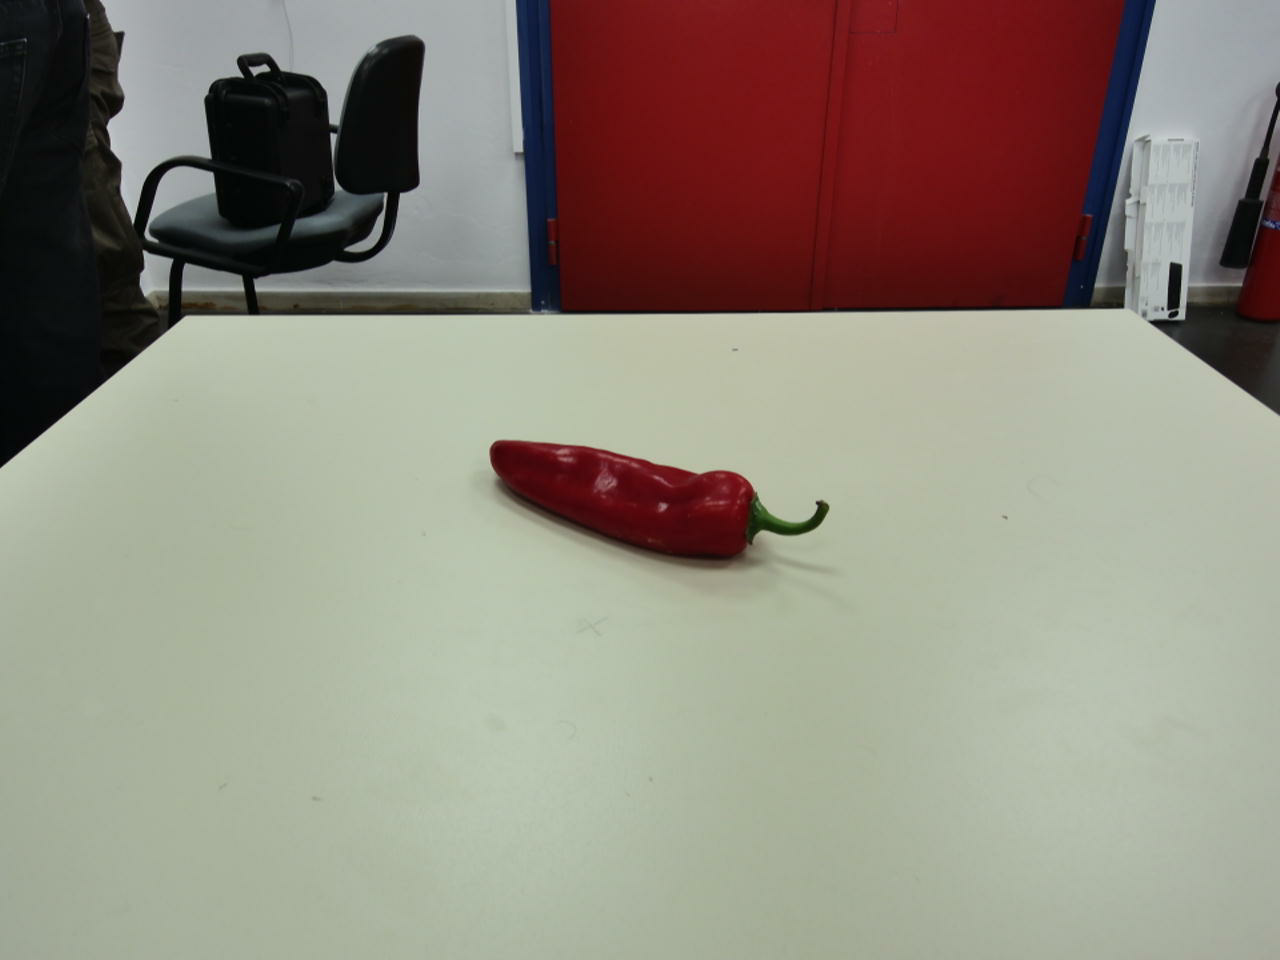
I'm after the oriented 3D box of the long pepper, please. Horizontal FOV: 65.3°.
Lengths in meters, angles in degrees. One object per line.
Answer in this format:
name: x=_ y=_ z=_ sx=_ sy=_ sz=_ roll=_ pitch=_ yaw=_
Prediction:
long pepper: x=-0.003 y=0.007 z=0.534 sx=0.211 sy=0.043 sz=0.050 roll=15 pitch=30 yaw=28
